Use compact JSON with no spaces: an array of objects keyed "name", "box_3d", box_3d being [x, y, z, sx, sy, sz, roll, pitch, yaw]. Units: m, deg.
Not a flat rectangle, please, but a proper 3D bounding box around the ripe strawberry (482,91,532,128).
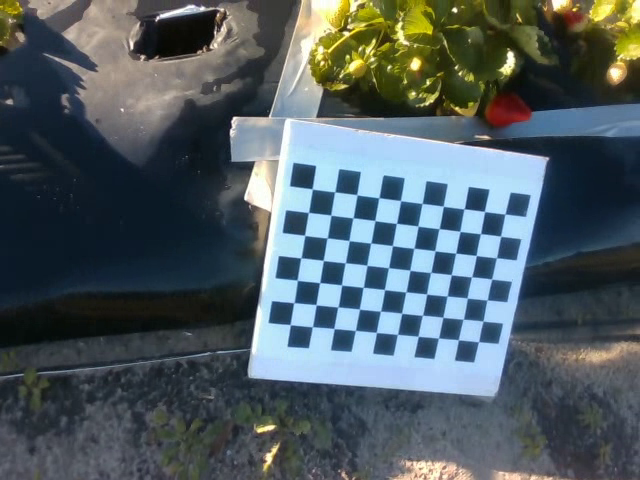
[{"name":"ripe strawberry","box_3d":[0.208,-0.140,0.569,0.049,0.045,0.064,28,7,-42]}]
